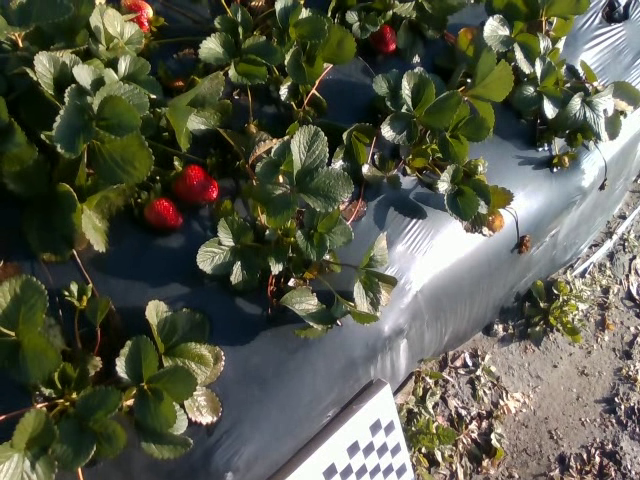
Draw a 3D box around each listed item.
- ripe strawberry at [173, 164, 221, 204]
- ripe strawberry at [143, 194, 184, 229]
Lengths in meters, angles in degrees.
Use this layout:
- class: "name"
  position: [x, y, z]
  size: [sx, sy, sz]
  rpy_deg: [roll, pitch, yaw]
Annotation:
- class: "ripe strawberry"
  position: [-0.142, -0.063, 0.723]
  size: [0.057, 0.052, 0.046]
  rpy_deg: [29, -3, 7]
- class: "ripe strawberry"
  position: [-0.176, -0.027, 0.697]
  size: [0.051, 0.043, 0.036]
  rpy_deg: [24, 4, 5]
